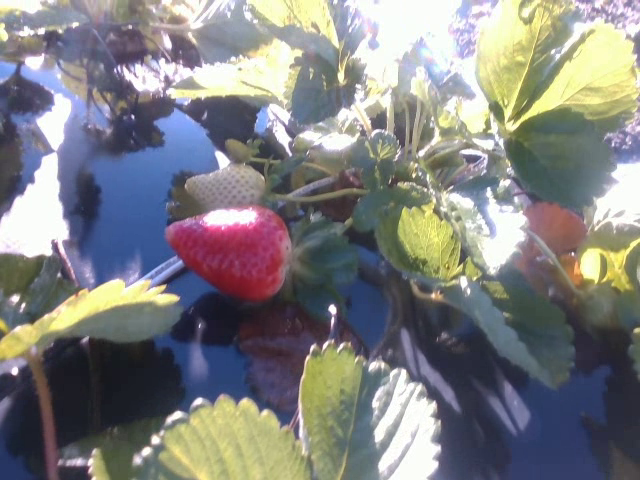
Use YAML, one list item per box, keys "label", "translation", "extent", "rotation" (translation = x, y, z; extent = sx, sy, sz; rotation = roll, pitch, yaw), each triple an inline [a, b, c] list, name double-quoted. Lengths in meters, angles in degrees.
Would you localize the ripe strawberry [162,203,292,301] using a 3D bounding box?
- label: "ripe strawberry"
  translation: [-0.040, 0.000, 0.299]
  extent: [0.080, 0.063, 0.040]
  rotation: [14, -25, -24]
